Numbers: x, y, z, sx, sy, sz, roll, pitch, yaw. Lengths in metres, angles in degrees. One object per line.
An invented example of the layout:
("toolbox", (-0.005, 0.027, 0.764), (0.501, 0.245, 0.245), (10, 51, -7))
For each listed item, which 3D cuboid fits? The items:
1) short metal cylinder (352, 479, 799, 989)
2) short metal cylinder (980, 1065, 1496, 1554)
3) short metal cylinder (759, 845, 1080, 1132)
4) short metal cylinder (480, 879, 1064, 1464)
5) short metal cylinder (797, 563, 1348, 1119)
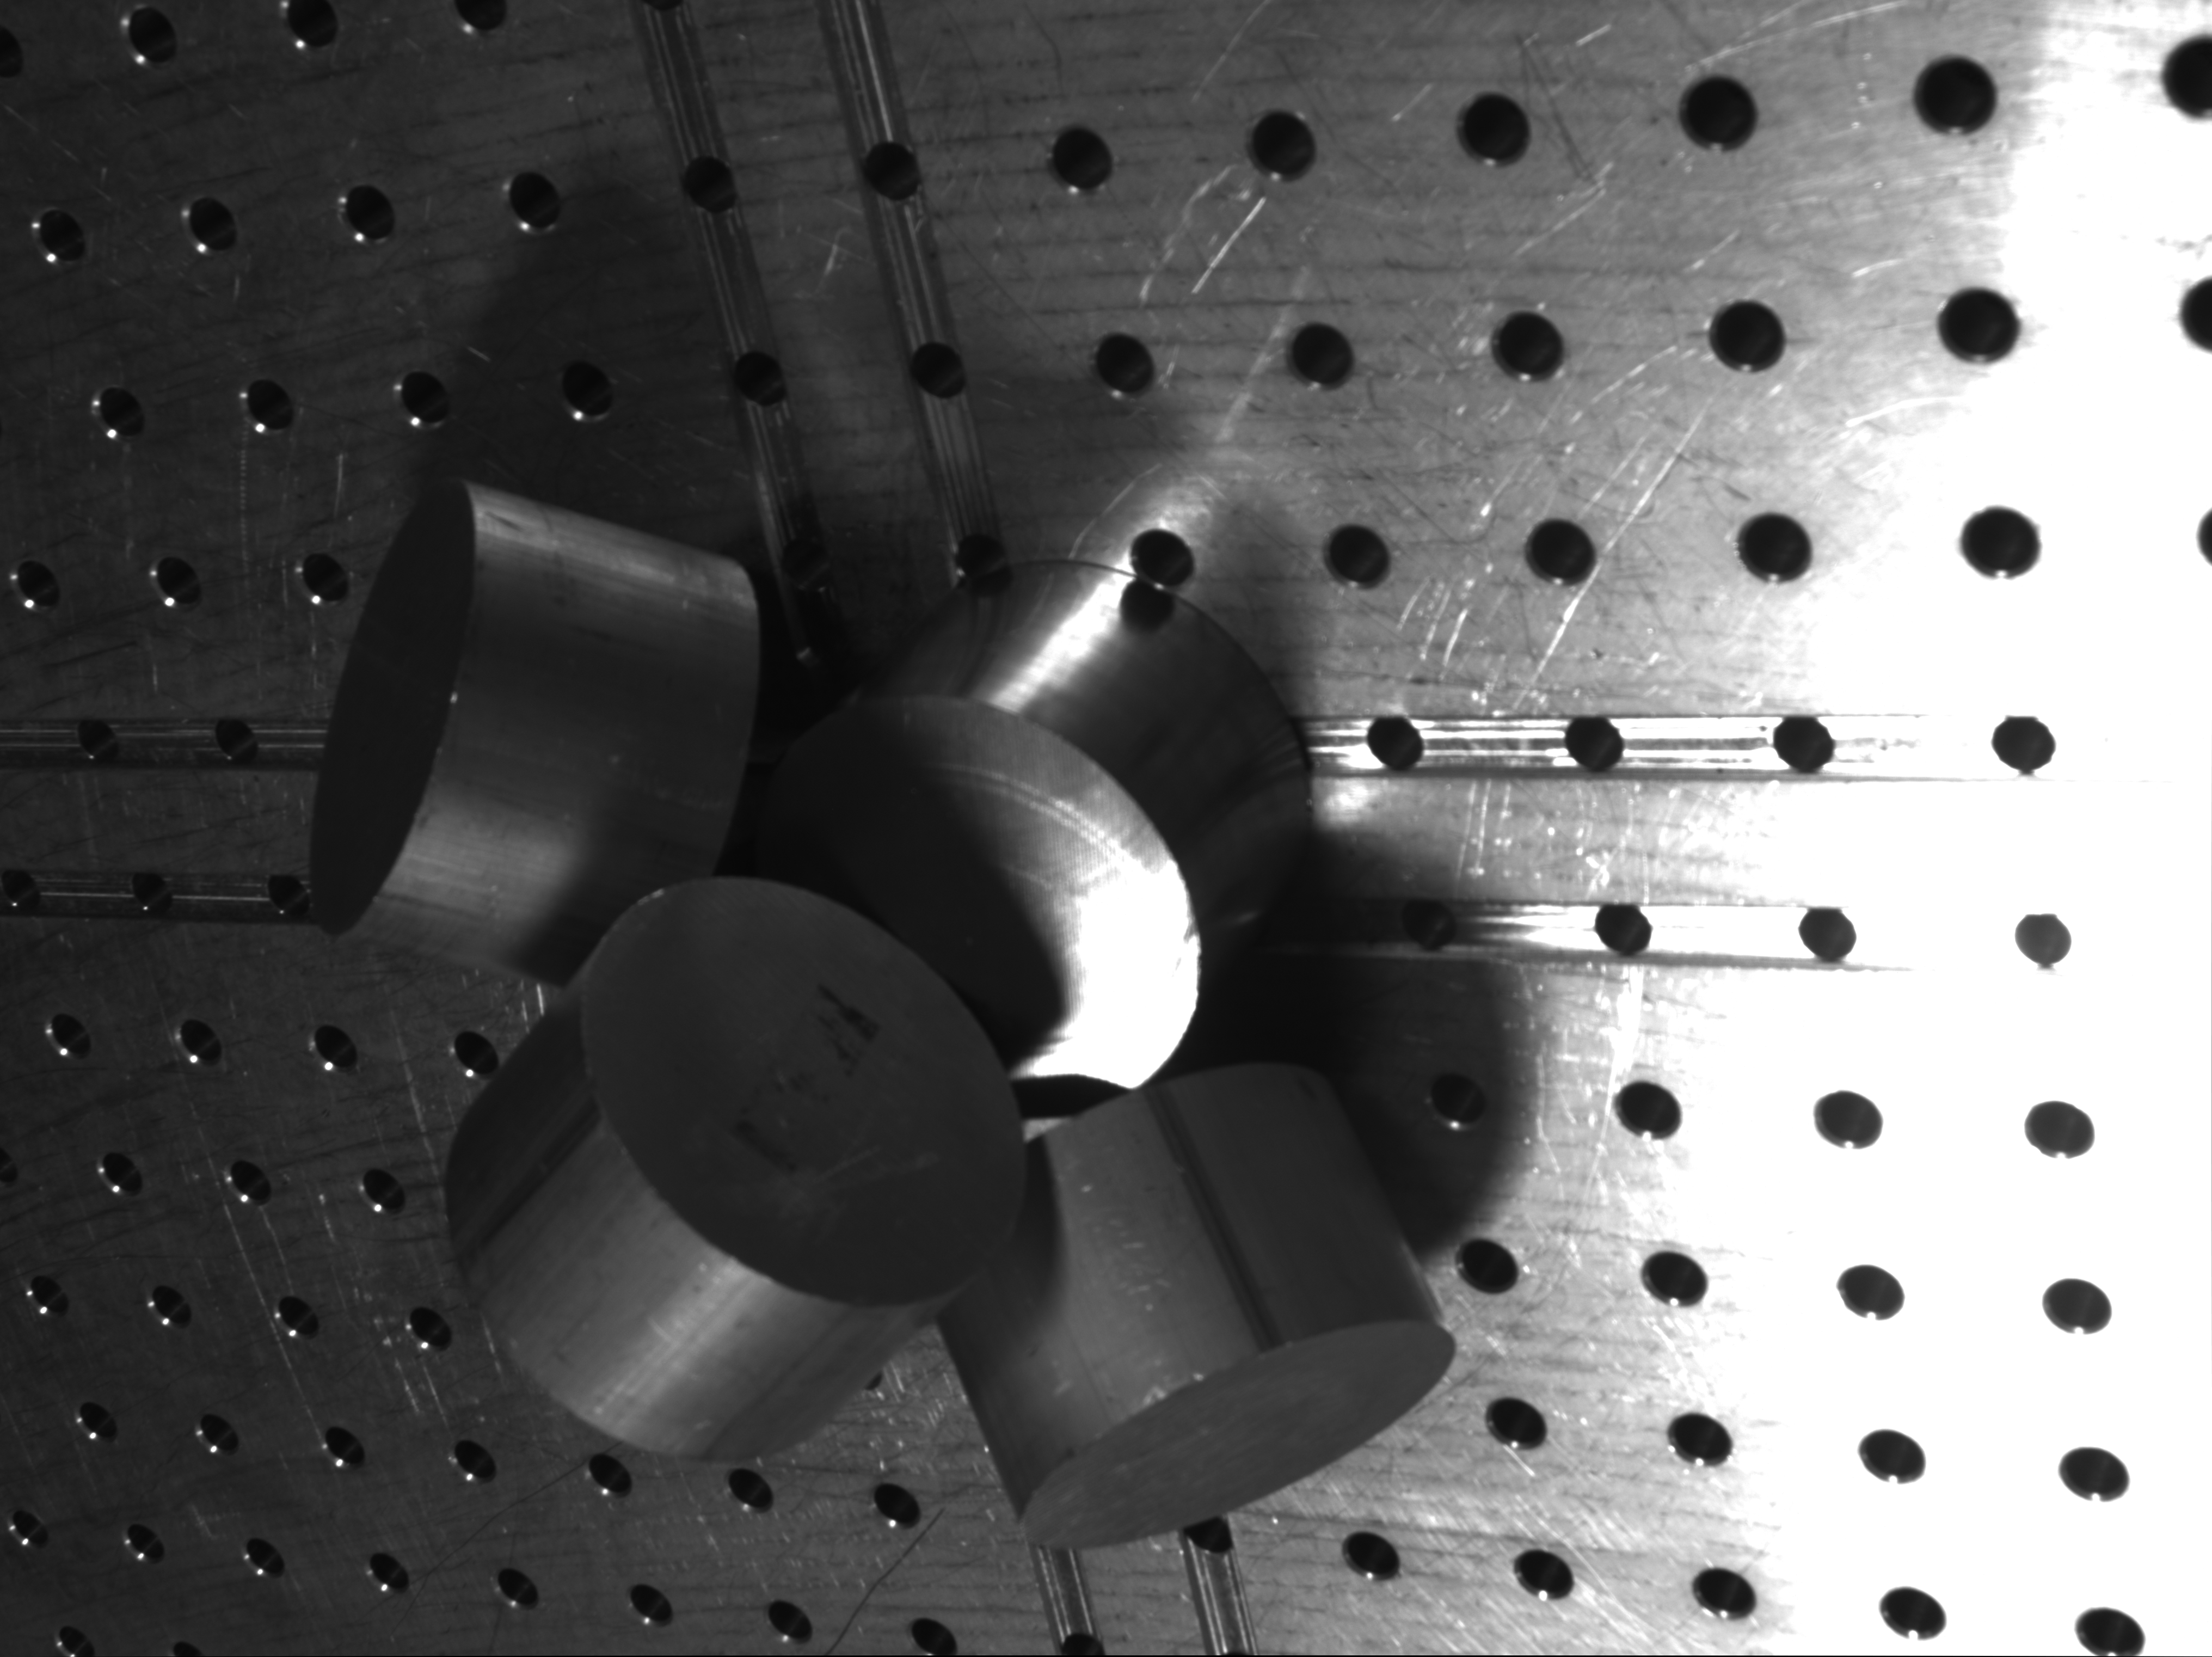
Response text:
("short metal cylinder", (-0.092, -0.014, 0.628), (0.050, 0.080, 0.080), (15, 132, -24))
("short metal cylinder", (0.020, 0.083, 0.630), (0.080, 0.080, 0.050), (-47, 56, 38))
("short metal cylinder", (-0.049, 0.048, 0.671), (0.080, 0.050, 0.080), (12, 123, 20))
("short metal cylinder", (-0.054, 0.055, 0.594), (0.080, 0.080, 0.050), (42, 128, -1))
("short metal cylinder", (-0.005, 0.002, 0.621), (0.080, 0.050, 0.080), (12, 123, 20))
